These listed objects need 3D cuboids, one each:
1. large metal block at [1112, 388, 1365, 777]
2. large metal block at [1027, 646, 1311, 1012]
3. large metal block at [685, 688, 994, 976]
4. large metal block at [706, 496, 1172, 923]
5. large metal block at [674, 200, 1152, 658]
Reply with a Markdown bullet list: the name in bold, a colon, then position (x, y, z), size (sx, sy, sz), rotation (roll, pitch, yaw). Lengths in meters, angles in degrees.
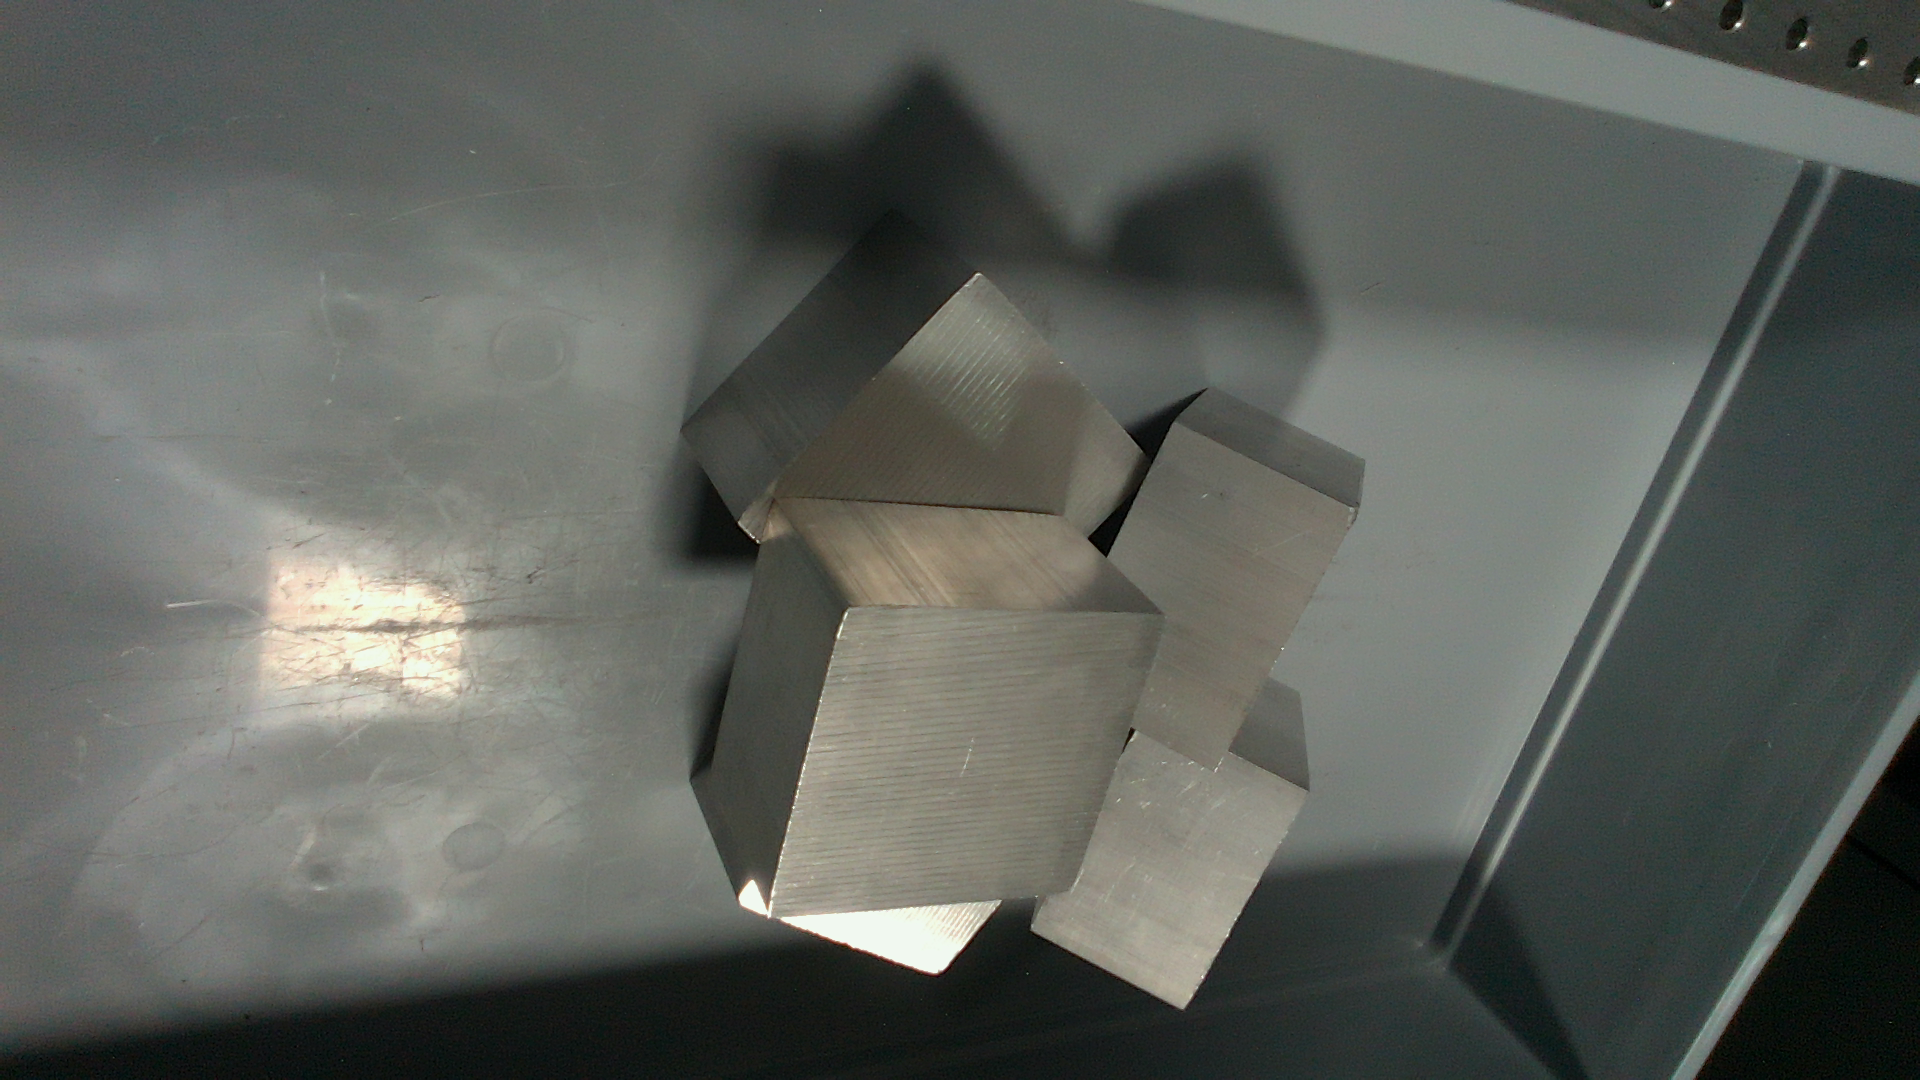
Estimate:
- **large metal block**: position (0.071, 0.007, 0.387), size (0.080, 0.050, 0.080), rotation (-66, 170, 18)
- **large metal block**: position (0.066, 0.083, 0.430), size (0.050, 0.080, 0.080), rotation (26, 108, 4)
- **large metal block**: position (-0.018, 0.071, 0.401), size (0.080, 0.050, 0.080), rotation (34, 99, -38)
- **large metal block**: position (-0.008, 0.039, 0.325), size (0.080, 0.050, 0.080), rotation (3, 116, -28)
- **large metal block**: position (-0.011, -0.024, 0.352), size (0.080, 0.050, 0.080), rotation (-46, 129, 3)
